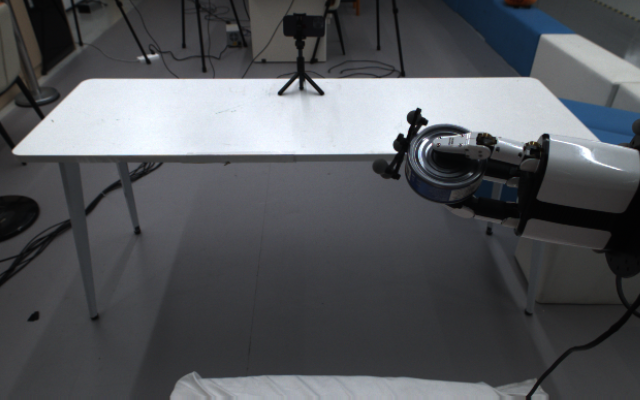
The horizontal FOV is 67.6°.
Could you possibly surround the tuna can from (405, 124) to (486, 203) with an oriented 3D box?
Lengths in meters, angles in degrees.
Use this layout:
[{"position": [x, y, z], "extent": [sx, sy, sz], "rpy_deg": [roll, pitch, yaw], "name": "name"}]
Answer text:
[{"position": [0.140, -0.043, 0.532], "extent": [0.085, 0.034, 0.085], "rpy_deg": [0, 61, 1], "name": "tuna can"}]
